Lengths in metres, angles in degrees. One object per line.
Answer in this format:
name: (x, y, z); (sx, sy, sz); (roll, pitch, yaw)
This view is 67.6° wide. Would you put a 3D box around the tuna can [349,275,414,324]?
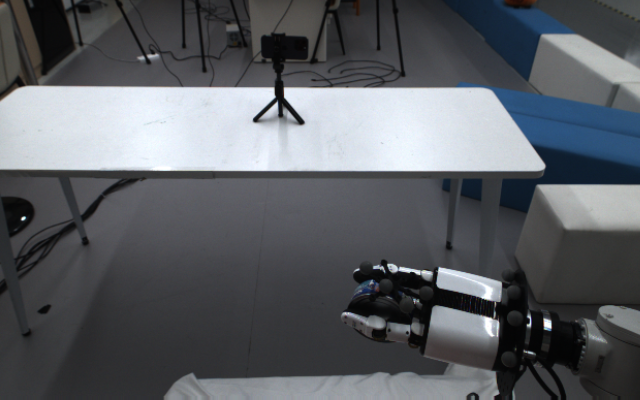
tuna can: (0.084, 0.144, 0.639); (0.085, 0.085, 0.034); (12, 33, 14)
